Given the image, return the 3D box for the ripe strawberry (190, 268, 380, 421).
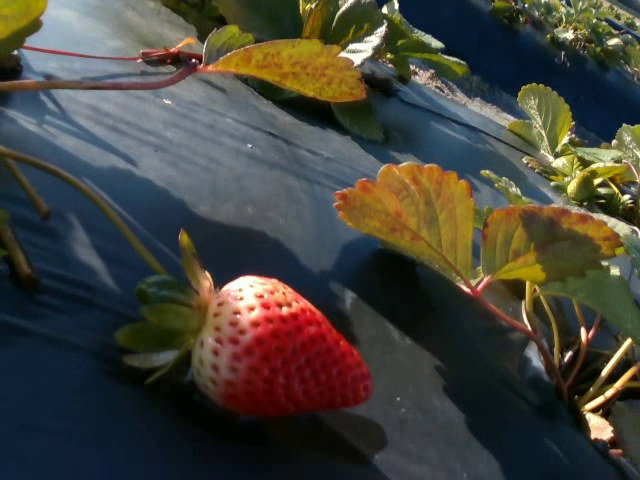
[{"bbox_3d":[-0.007,0.030,0.164,0.063,0.045,0.044,22,-9,-1],"label":"ripe strawberry"}]
